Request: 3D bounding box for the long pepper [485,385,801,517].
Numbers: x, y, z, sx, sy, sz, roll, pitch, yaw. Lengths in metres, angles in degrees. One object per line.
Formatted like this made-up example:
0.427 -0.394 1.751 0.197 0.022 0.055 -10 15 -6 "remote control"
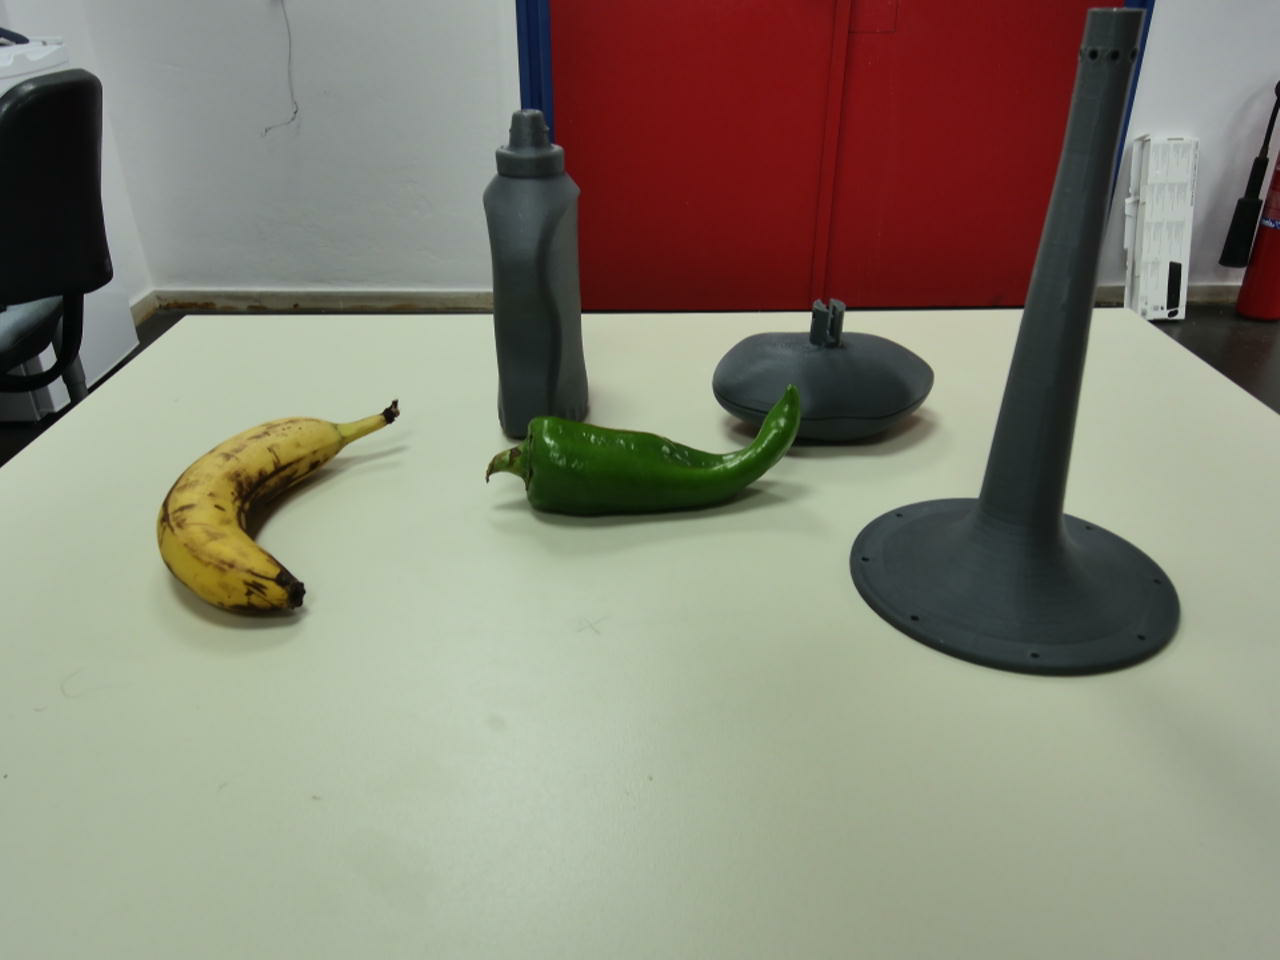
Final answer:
0.003 -0.017 0.549 0.175 0.065 0.058 -1 26 -2 "long pepper"
